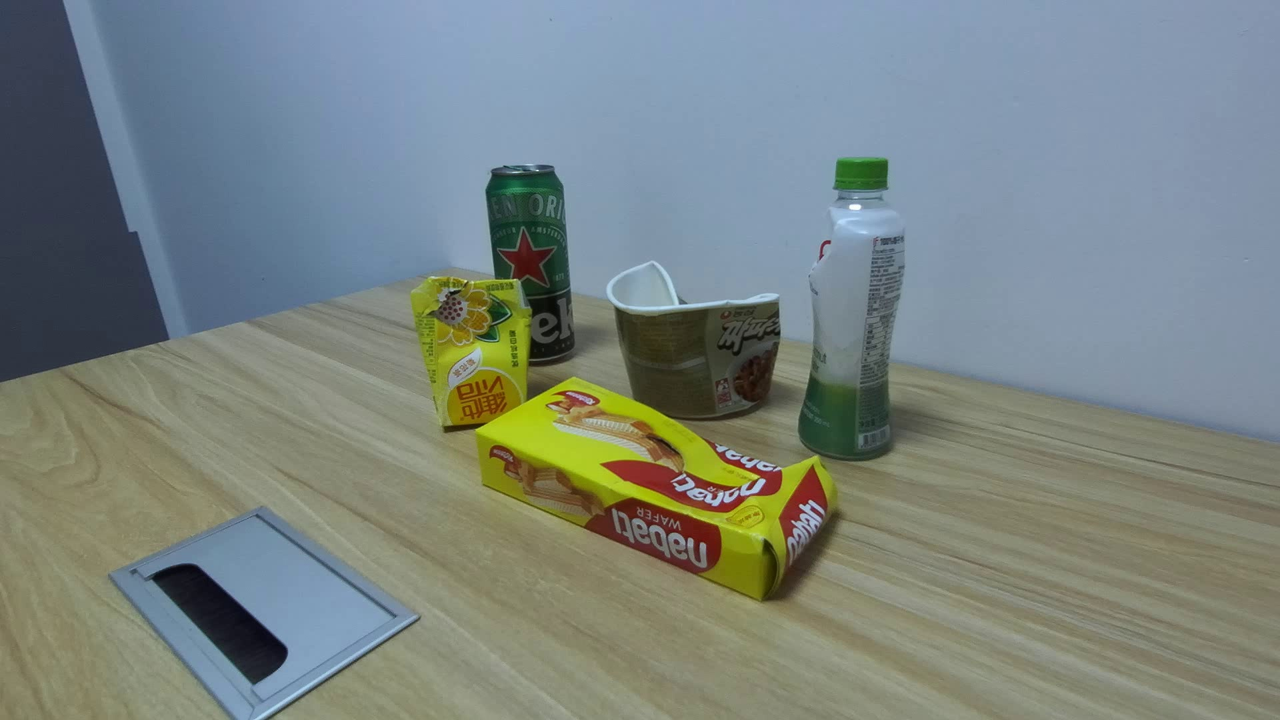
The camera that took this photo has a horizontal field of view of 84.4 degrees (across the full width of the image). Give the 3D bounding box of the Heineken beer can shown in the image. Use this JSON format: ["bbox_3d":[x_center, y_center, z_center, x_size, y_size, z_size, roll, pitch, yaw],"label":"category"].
[{"bbox_3d":[-0.096,-0.083,0.633,0.067,0.169,0.067,-2,19,1],"label":"Heineken beer can"}]

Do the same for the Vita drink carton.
[{"bbox_3d":[-0.124,-0.009,0.534,0.087,0.108,0.042,-4,8,-13],"label":"Vita drink carton"}]

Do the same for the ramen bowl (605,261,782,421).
[{"bbox_3d":[0.037,-0.016,0.550,0.137,0.098,0.137,-2,20,1],"label":"ramen bowl"}]

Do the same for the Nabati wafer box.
[{"bbox_3d":[0.010,0.066,0.422,0.203,0.042,0.107,15,29,33],"label":"Nabati wafer box"}]

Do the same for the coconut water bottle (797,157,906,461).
[{"bbox_3d":[0.138,-0.032,0.454,0.069,0.186,0.069,-1,20,1],"label":"coconut water bottle"}]
